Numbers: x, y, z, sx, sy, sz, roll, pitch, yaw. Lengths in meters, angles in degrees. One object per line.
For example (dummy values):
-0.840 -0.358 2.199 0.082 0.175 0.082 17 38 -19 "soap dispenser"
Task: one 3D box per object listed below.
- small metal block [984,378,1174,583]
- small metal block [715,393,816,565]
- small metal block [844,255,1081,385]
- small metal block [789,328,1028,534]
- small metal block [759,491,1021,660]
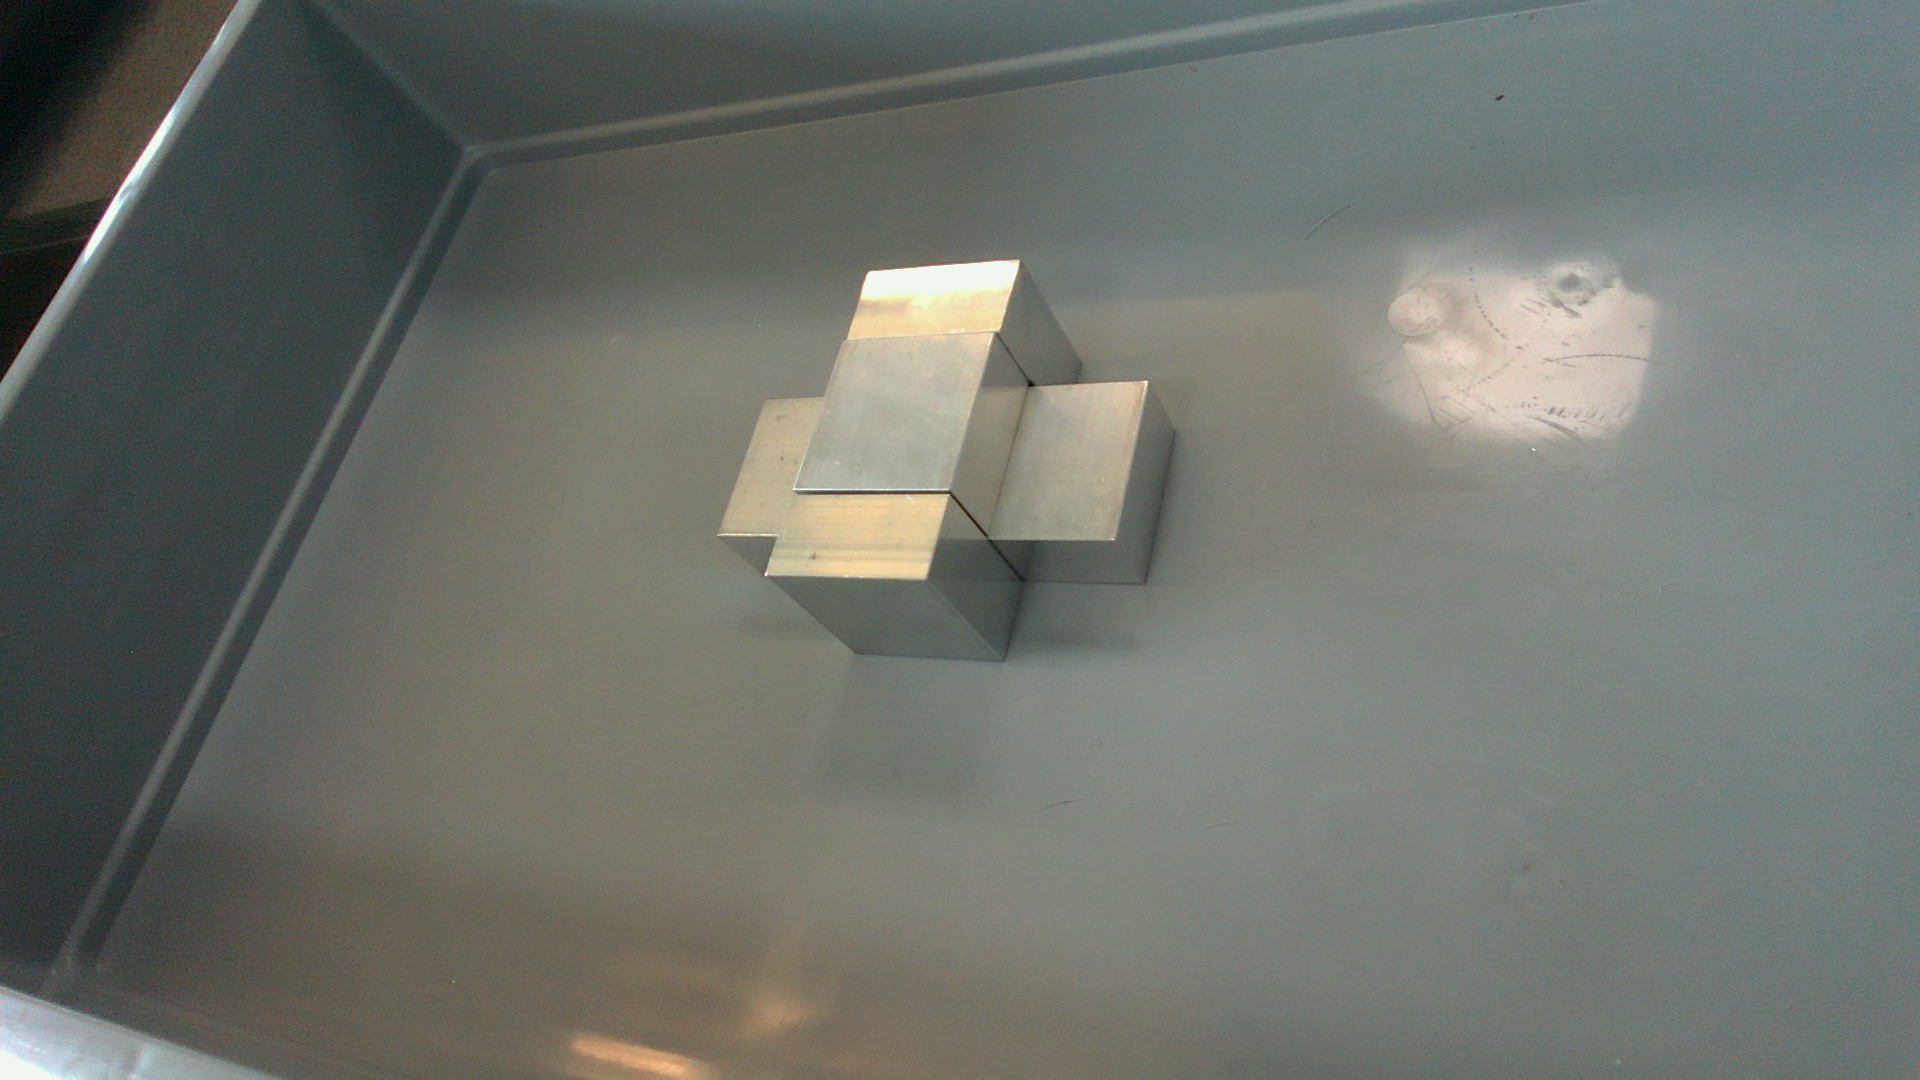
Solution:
0.029 -0.016 0.387 0.050 0.025 0.050 1 62 29 "small metal block"
-0.041 -0.018 0.425 0.050 0.025 0.050 1 62 29 "small metal block"
0.002 -0.057 0.409 0.050 0.050 0.025 1 62 29 "small metal block"
-0.014 -0.030 0.384 0.050 0.025 0.050 1 62 29 "small metal block"
-0.018 0.010 0.378 0.050 0.050 0.025 1 62 29 "small metal block"
